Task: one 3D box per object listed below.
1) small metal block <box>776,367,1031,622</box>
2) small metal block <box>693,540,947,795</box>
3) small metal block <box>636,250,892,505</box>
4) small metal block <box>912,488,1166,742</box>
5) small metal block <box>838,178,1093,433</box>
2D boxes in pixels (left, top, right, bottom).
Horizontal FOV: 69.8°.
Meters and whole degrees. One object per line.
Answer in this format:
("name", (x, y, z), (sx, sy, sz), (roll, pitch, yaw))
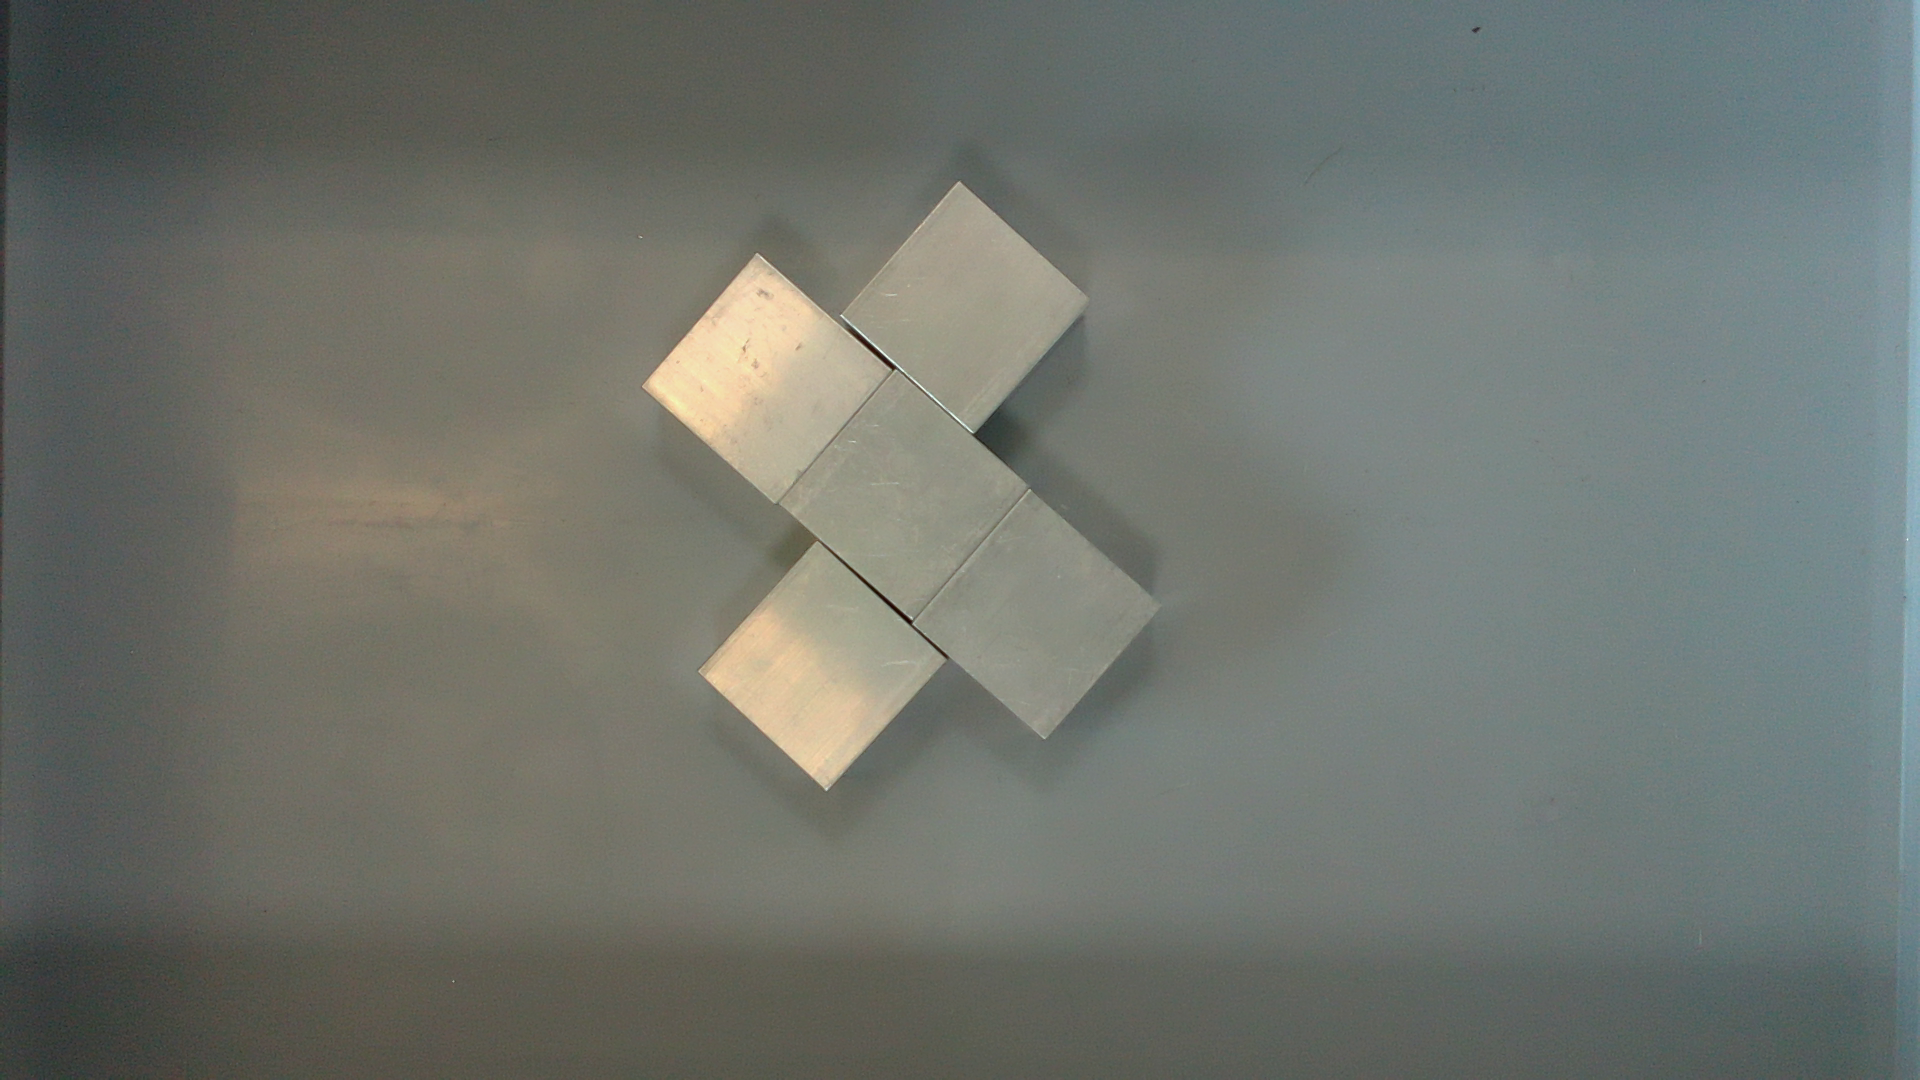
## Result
("small metal block", (-0.016, -0.013, 0.393), (0.050, 0.025, 0.050), (41, 90, 0))
("small metal block", (-0.039, 0.035, 0.394), (0.050, 0.025, 0.050), (43, 91, 0))
("small metal block", (-0.054, -0.045, 0.393), (0.050, 0.025, 0.050), (41, 90, 0))
("small metal block", (0.022, 0.021, 0.394), (0.050, 0.025, 0.050), (41, 90, 0))
("small metal block", (0.001, -0.065, 0.393), (0.050, 0.025, 0.050), (42, 89, 0))
